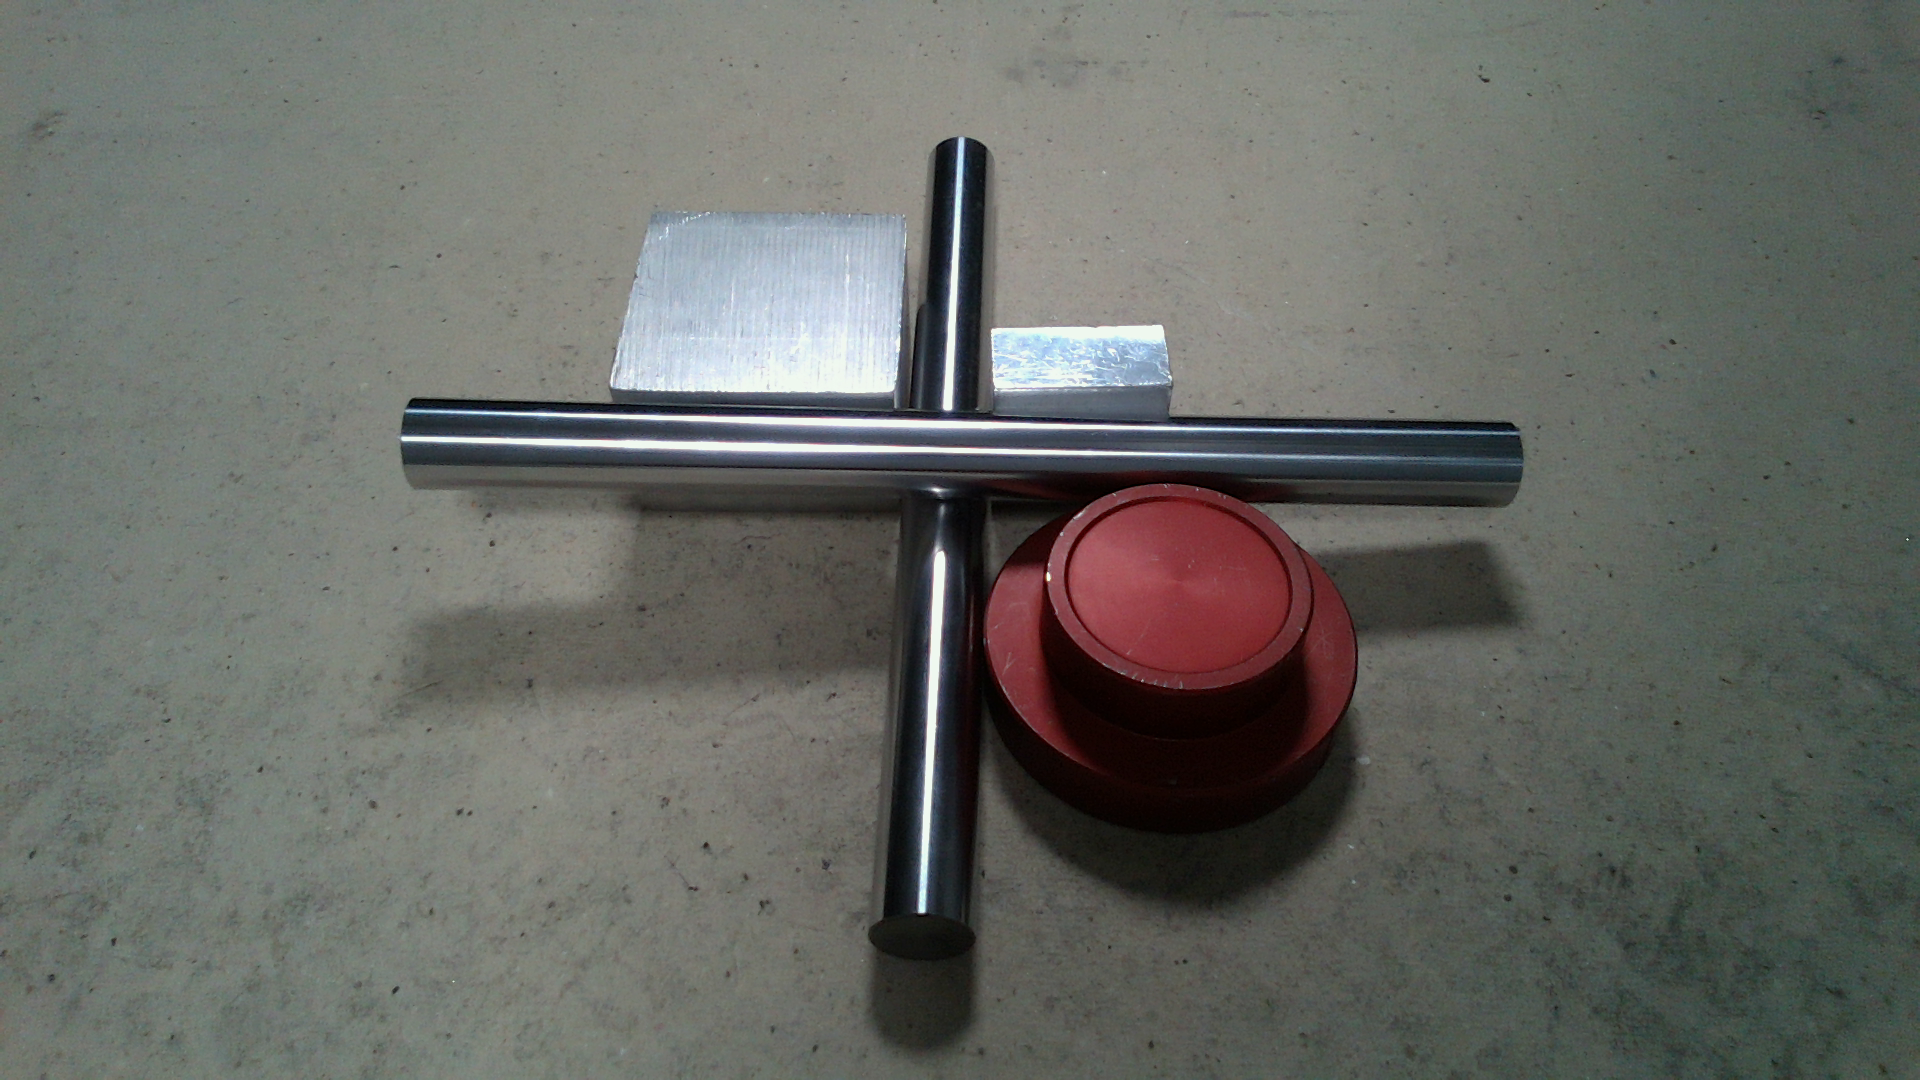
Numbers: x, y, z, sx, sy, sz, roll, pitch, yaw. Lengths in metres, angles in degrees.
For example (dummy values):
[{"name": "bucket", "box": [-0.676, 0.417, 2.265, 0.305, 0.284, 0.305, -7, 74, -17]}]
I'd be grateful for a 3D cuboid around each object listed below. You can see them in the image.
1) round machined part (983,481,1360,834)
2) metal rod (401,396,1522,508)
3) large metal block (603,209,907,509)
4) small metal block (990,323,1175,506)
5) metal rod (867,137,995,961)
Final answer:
[{"name": "round machined part", "box": [0.055, 0.023, 0.360, 0.098, 0.042, 0.098, 0, 50, 0]}, {"name": "metal rod", "box": [0.004, -0.024, 0.379, 0.300, 0.025, 0.025, 1, 50, -4]}, {"name": "large metal block", "box": [-0.057, -0.056, 0.422, 0.080, 0.050, 0.080, 1, 50, 1]}, {"name": "small metal block", "box": [0.034, -0.036, 0.406, 0.050, 0.050, 0.025, -1, 50, -1]}, {"name": "metal rod", "box": [-0.004, -0.023, 0.411, 0.025, 0.025, 0.300, 1, 50, 1]}]
